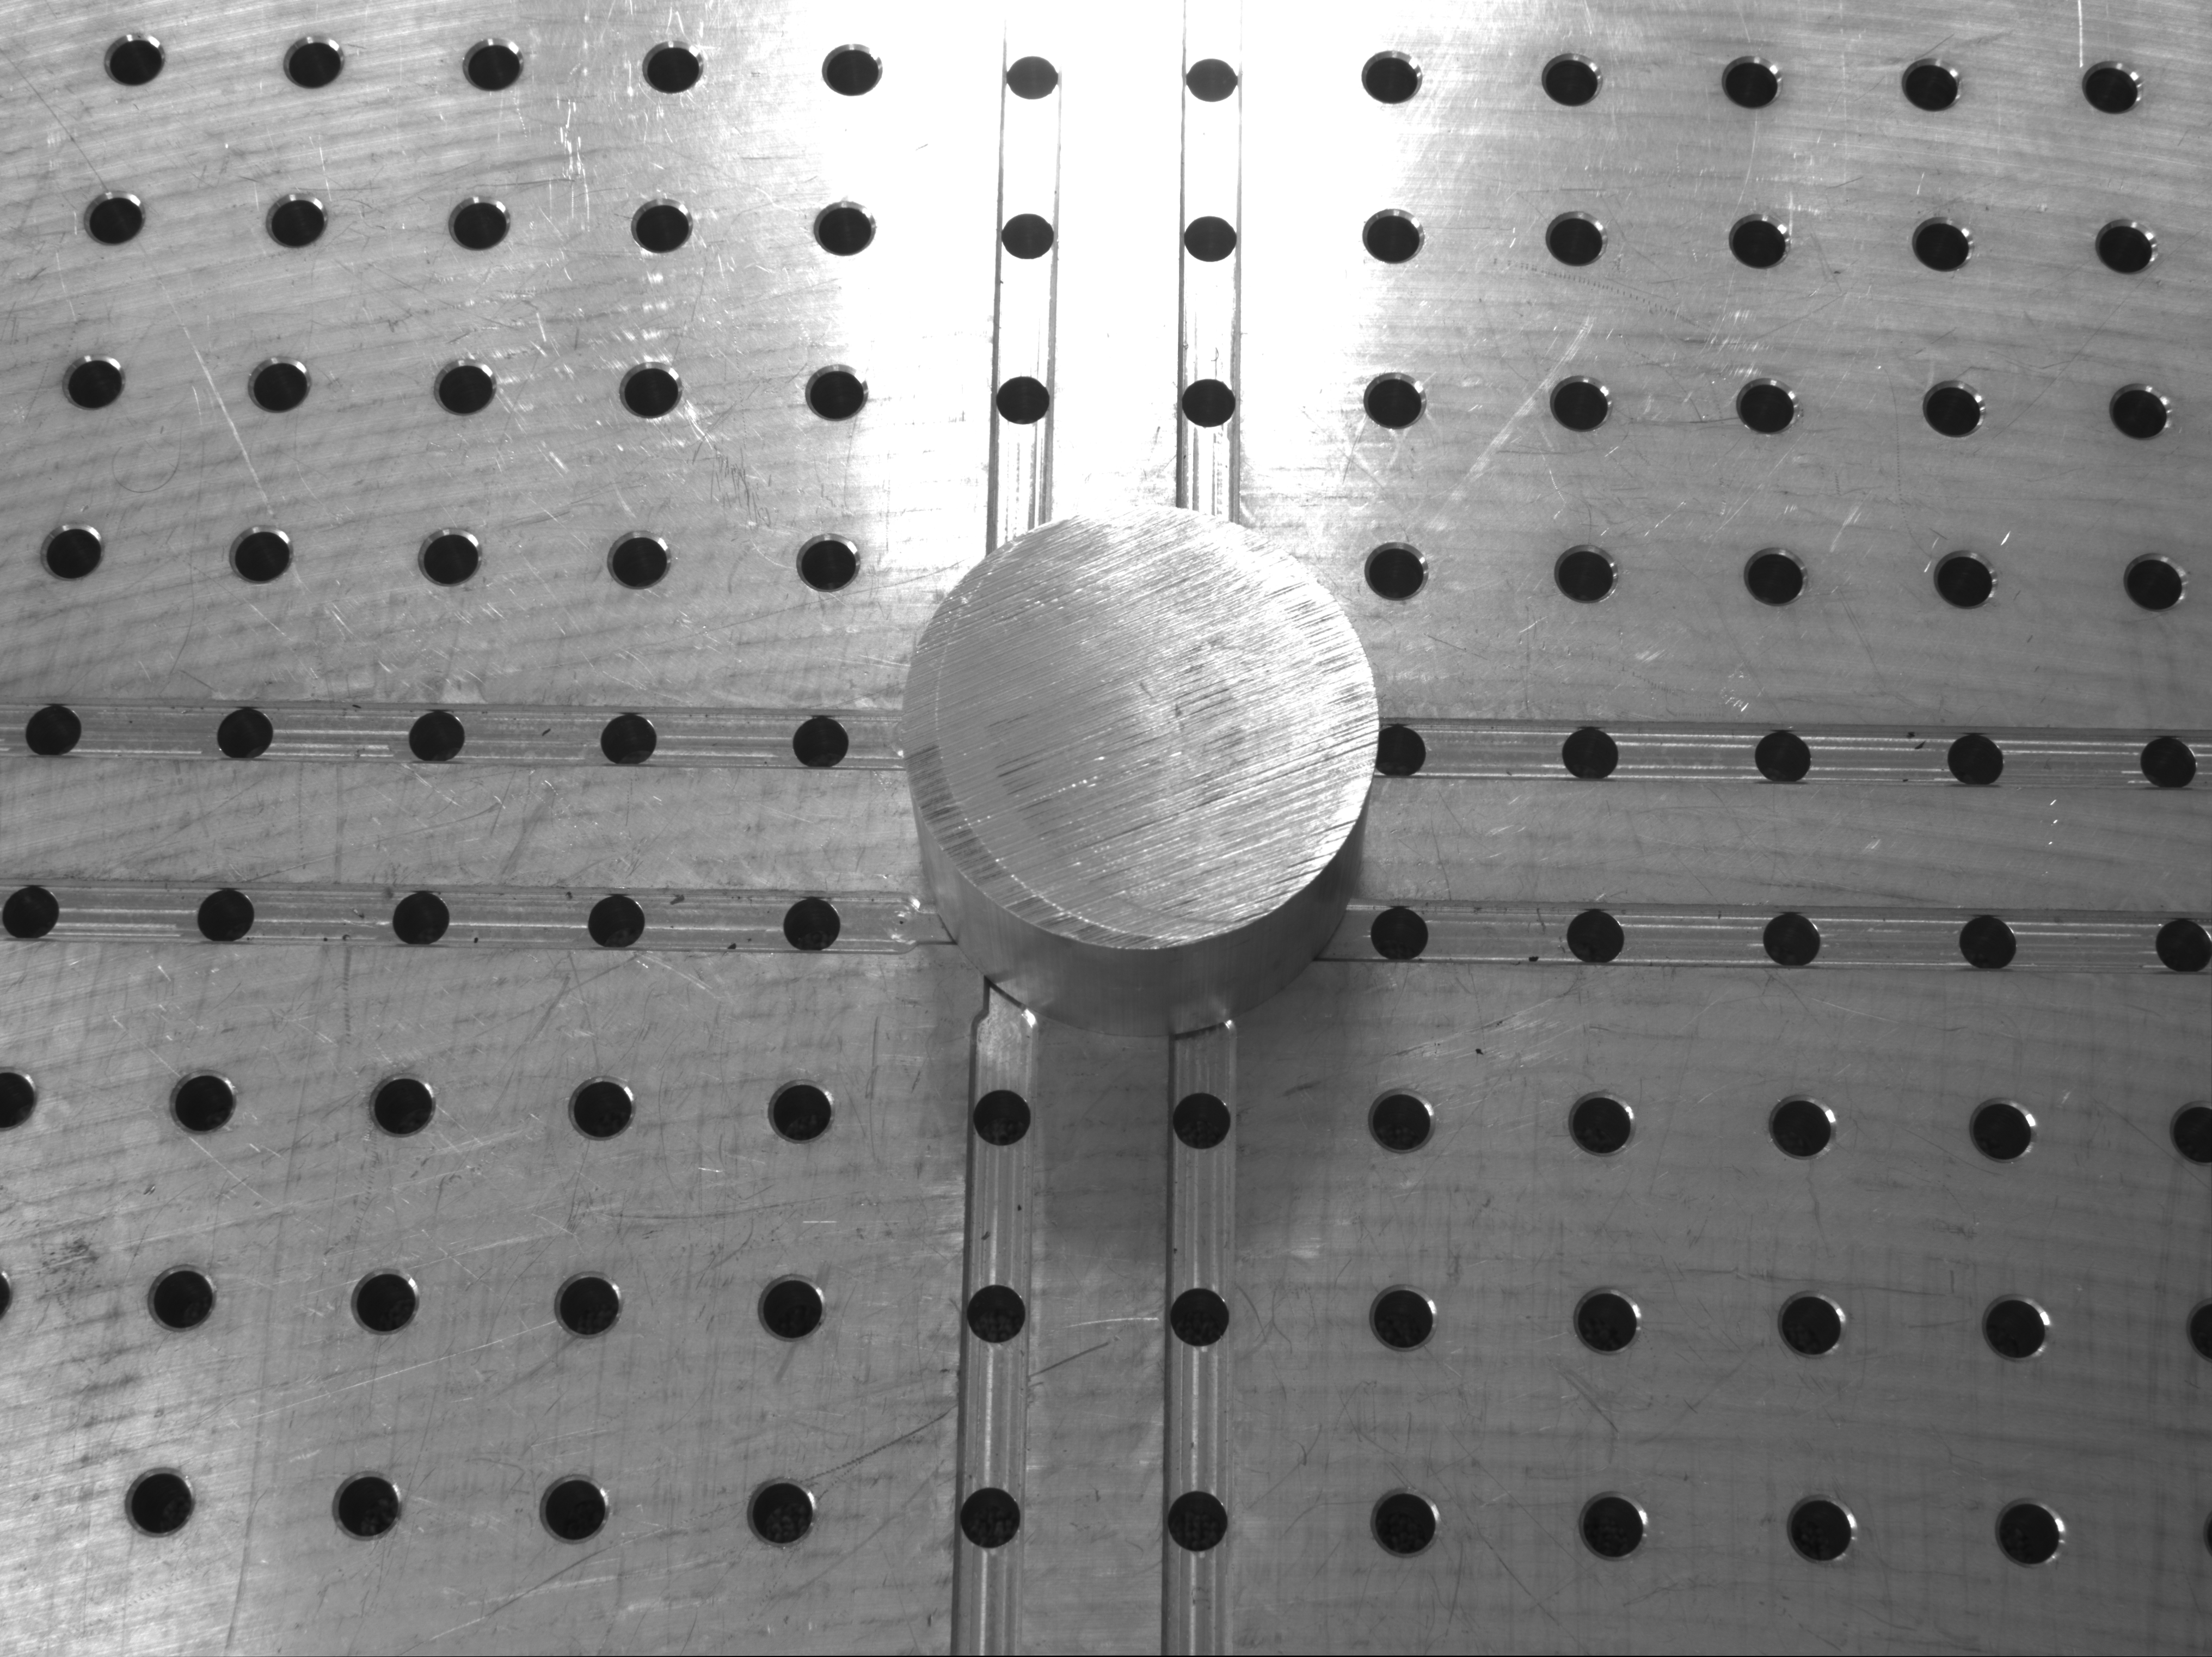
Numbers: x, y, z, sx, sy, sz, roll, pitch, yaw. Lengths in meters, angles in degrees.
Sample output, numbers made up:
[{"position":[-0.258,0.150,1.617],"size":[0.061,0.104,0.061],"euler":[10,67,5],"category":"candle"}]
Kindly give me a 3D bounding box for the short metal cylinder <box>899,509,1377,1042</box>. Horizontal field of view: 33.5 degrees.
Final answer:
[{"position":[0.006,-0.009,0.638],"size":[0.080,0.050,0.080],"euler":[0,70,0],"category":"short metal cylinder"}]
